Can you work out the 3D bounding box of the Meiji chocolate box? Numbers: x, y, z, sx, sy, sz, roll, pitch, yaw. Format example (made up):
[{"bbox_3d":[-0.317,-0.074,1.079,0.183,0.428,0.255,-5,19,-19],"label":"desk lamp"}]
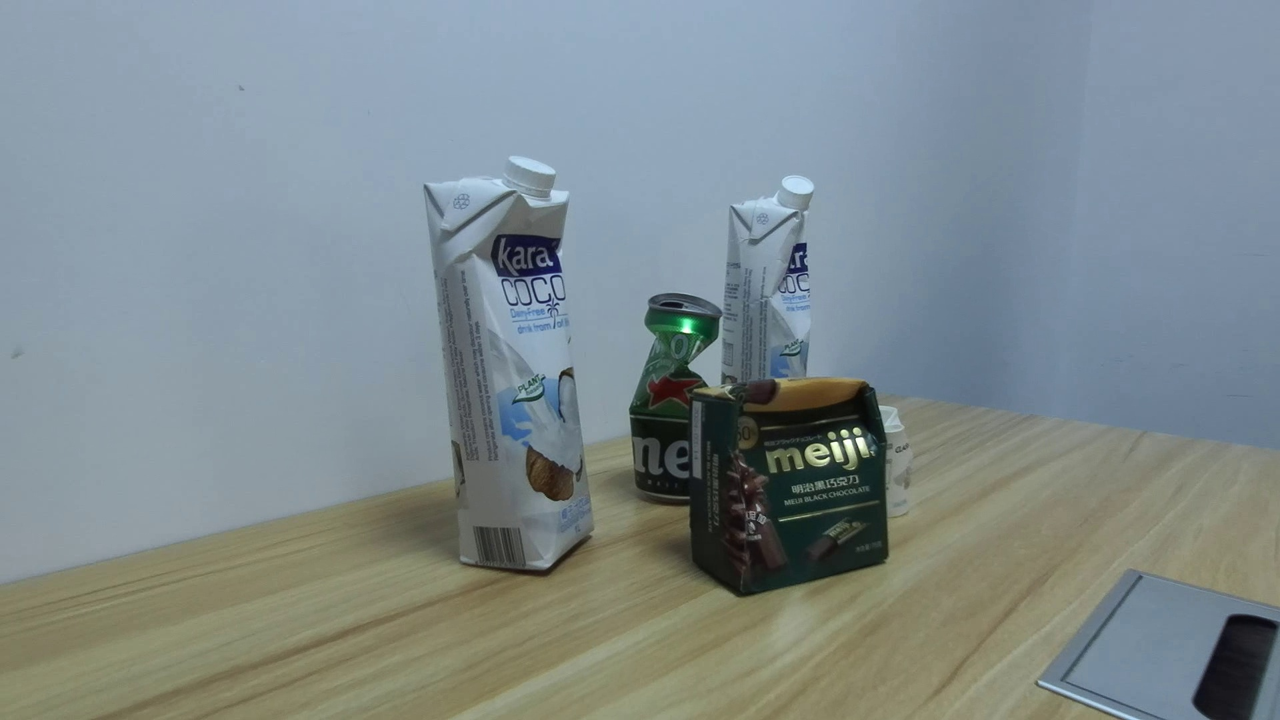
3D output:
[{"bbox_3d":[0.090,0.074,0.432,0.113,0.110,0.058,-3,0,-24],"label":"Meiji chocolate box"}]

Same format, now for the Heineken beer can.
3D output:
[{"bbox_3d":[0.027,0.031,0.540,0.067,0.159,0.078,-12,21,-42],"label":"Heineken beer can"}]

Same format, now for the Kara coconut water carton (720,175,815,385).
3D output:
[{"bbox_3d":[0.116,-0.036,0.643,0.078,0.255,0.083,8,12,37],"label":"Kara coconut water carton"}]

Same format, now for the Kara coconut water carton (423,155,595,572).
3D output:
[{"bbox_3d":[-0.078,0.001,0.443,0.071,0.244,0.100,0,10,20],"label":"Kara coconut water carton"}]
